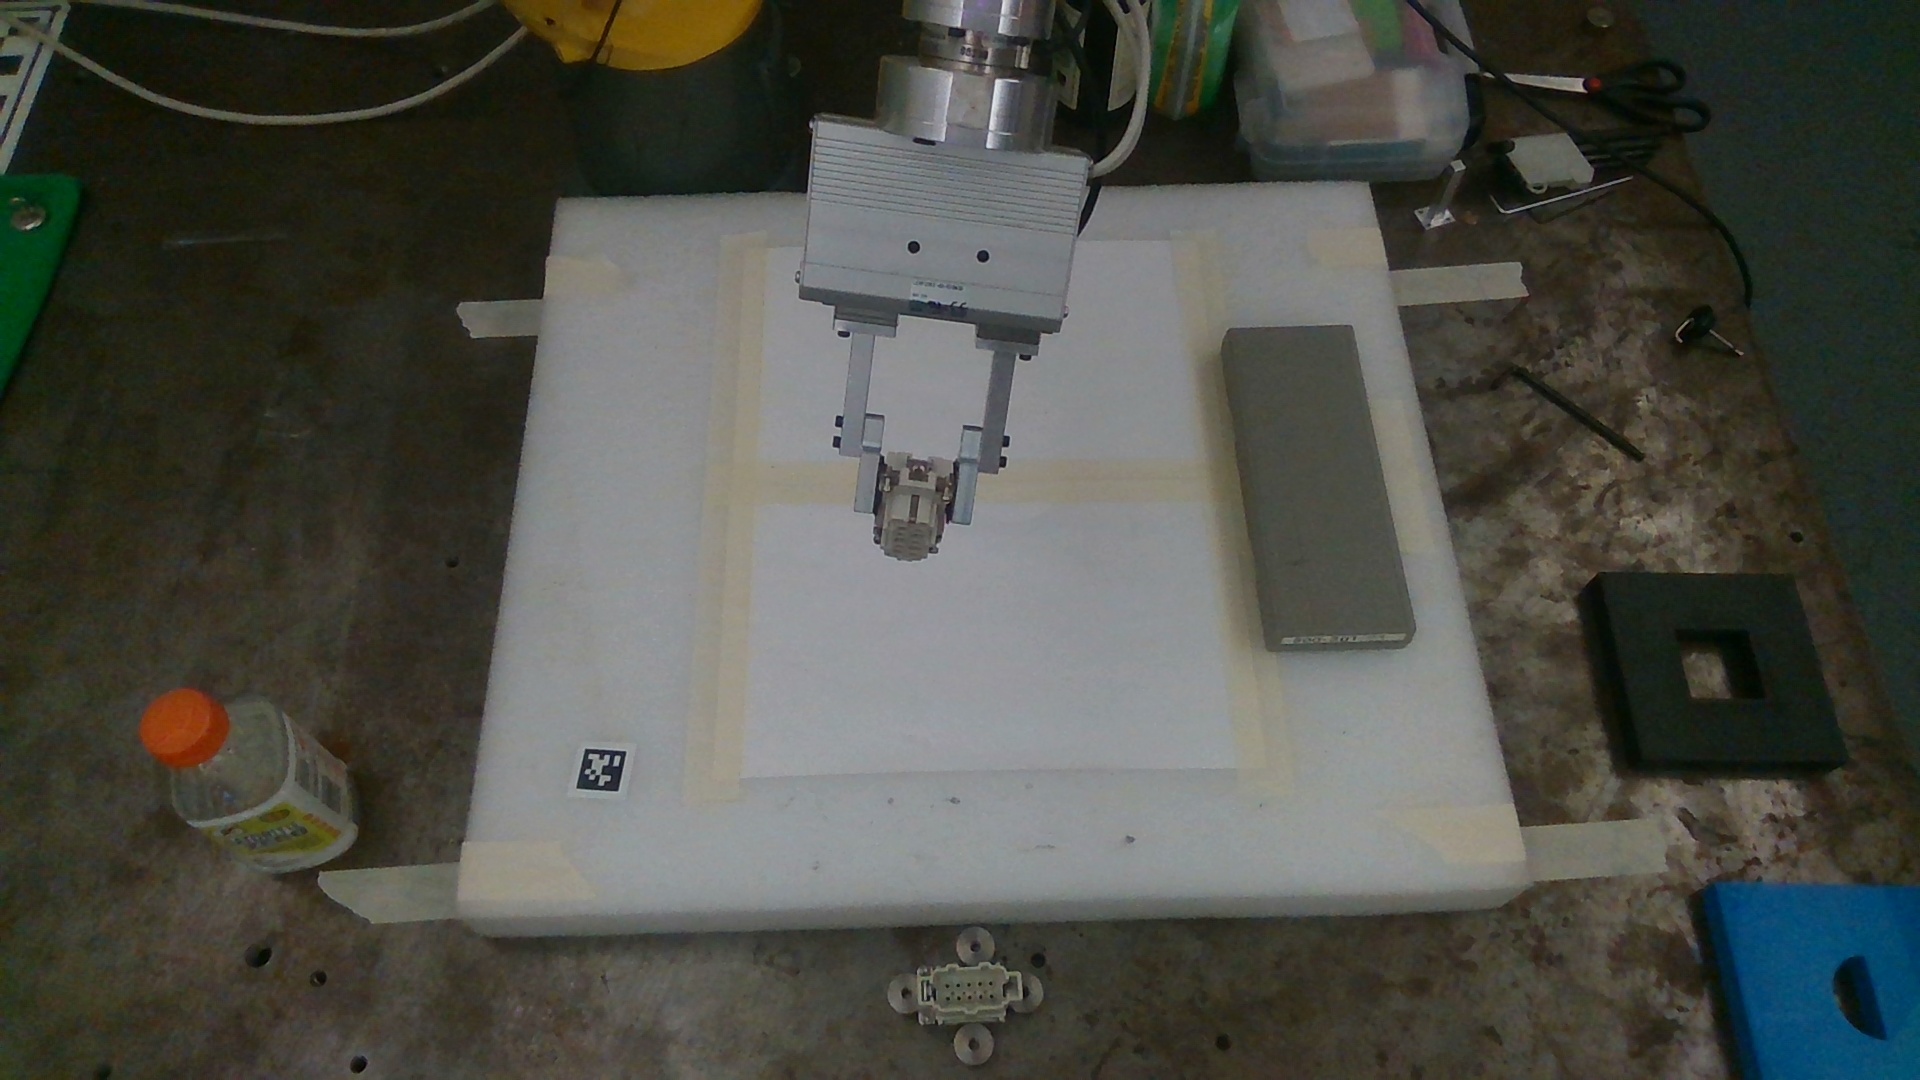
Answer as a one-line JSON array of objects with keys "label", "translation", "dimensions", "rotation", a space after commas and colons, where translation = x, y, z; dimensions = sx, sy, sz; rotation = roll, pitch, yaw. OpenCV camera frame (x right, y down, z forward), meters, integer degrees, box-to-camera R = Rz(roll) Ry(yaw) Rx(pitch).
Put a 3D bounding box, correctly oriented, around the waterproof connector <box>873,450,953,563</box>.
[{"label": "waterproof connector", "translation": [-0.023, -0.015, 0.672], "dimensions": [0.037, 0.069, 0.038], "rotation": [7, 67, 1]}]
